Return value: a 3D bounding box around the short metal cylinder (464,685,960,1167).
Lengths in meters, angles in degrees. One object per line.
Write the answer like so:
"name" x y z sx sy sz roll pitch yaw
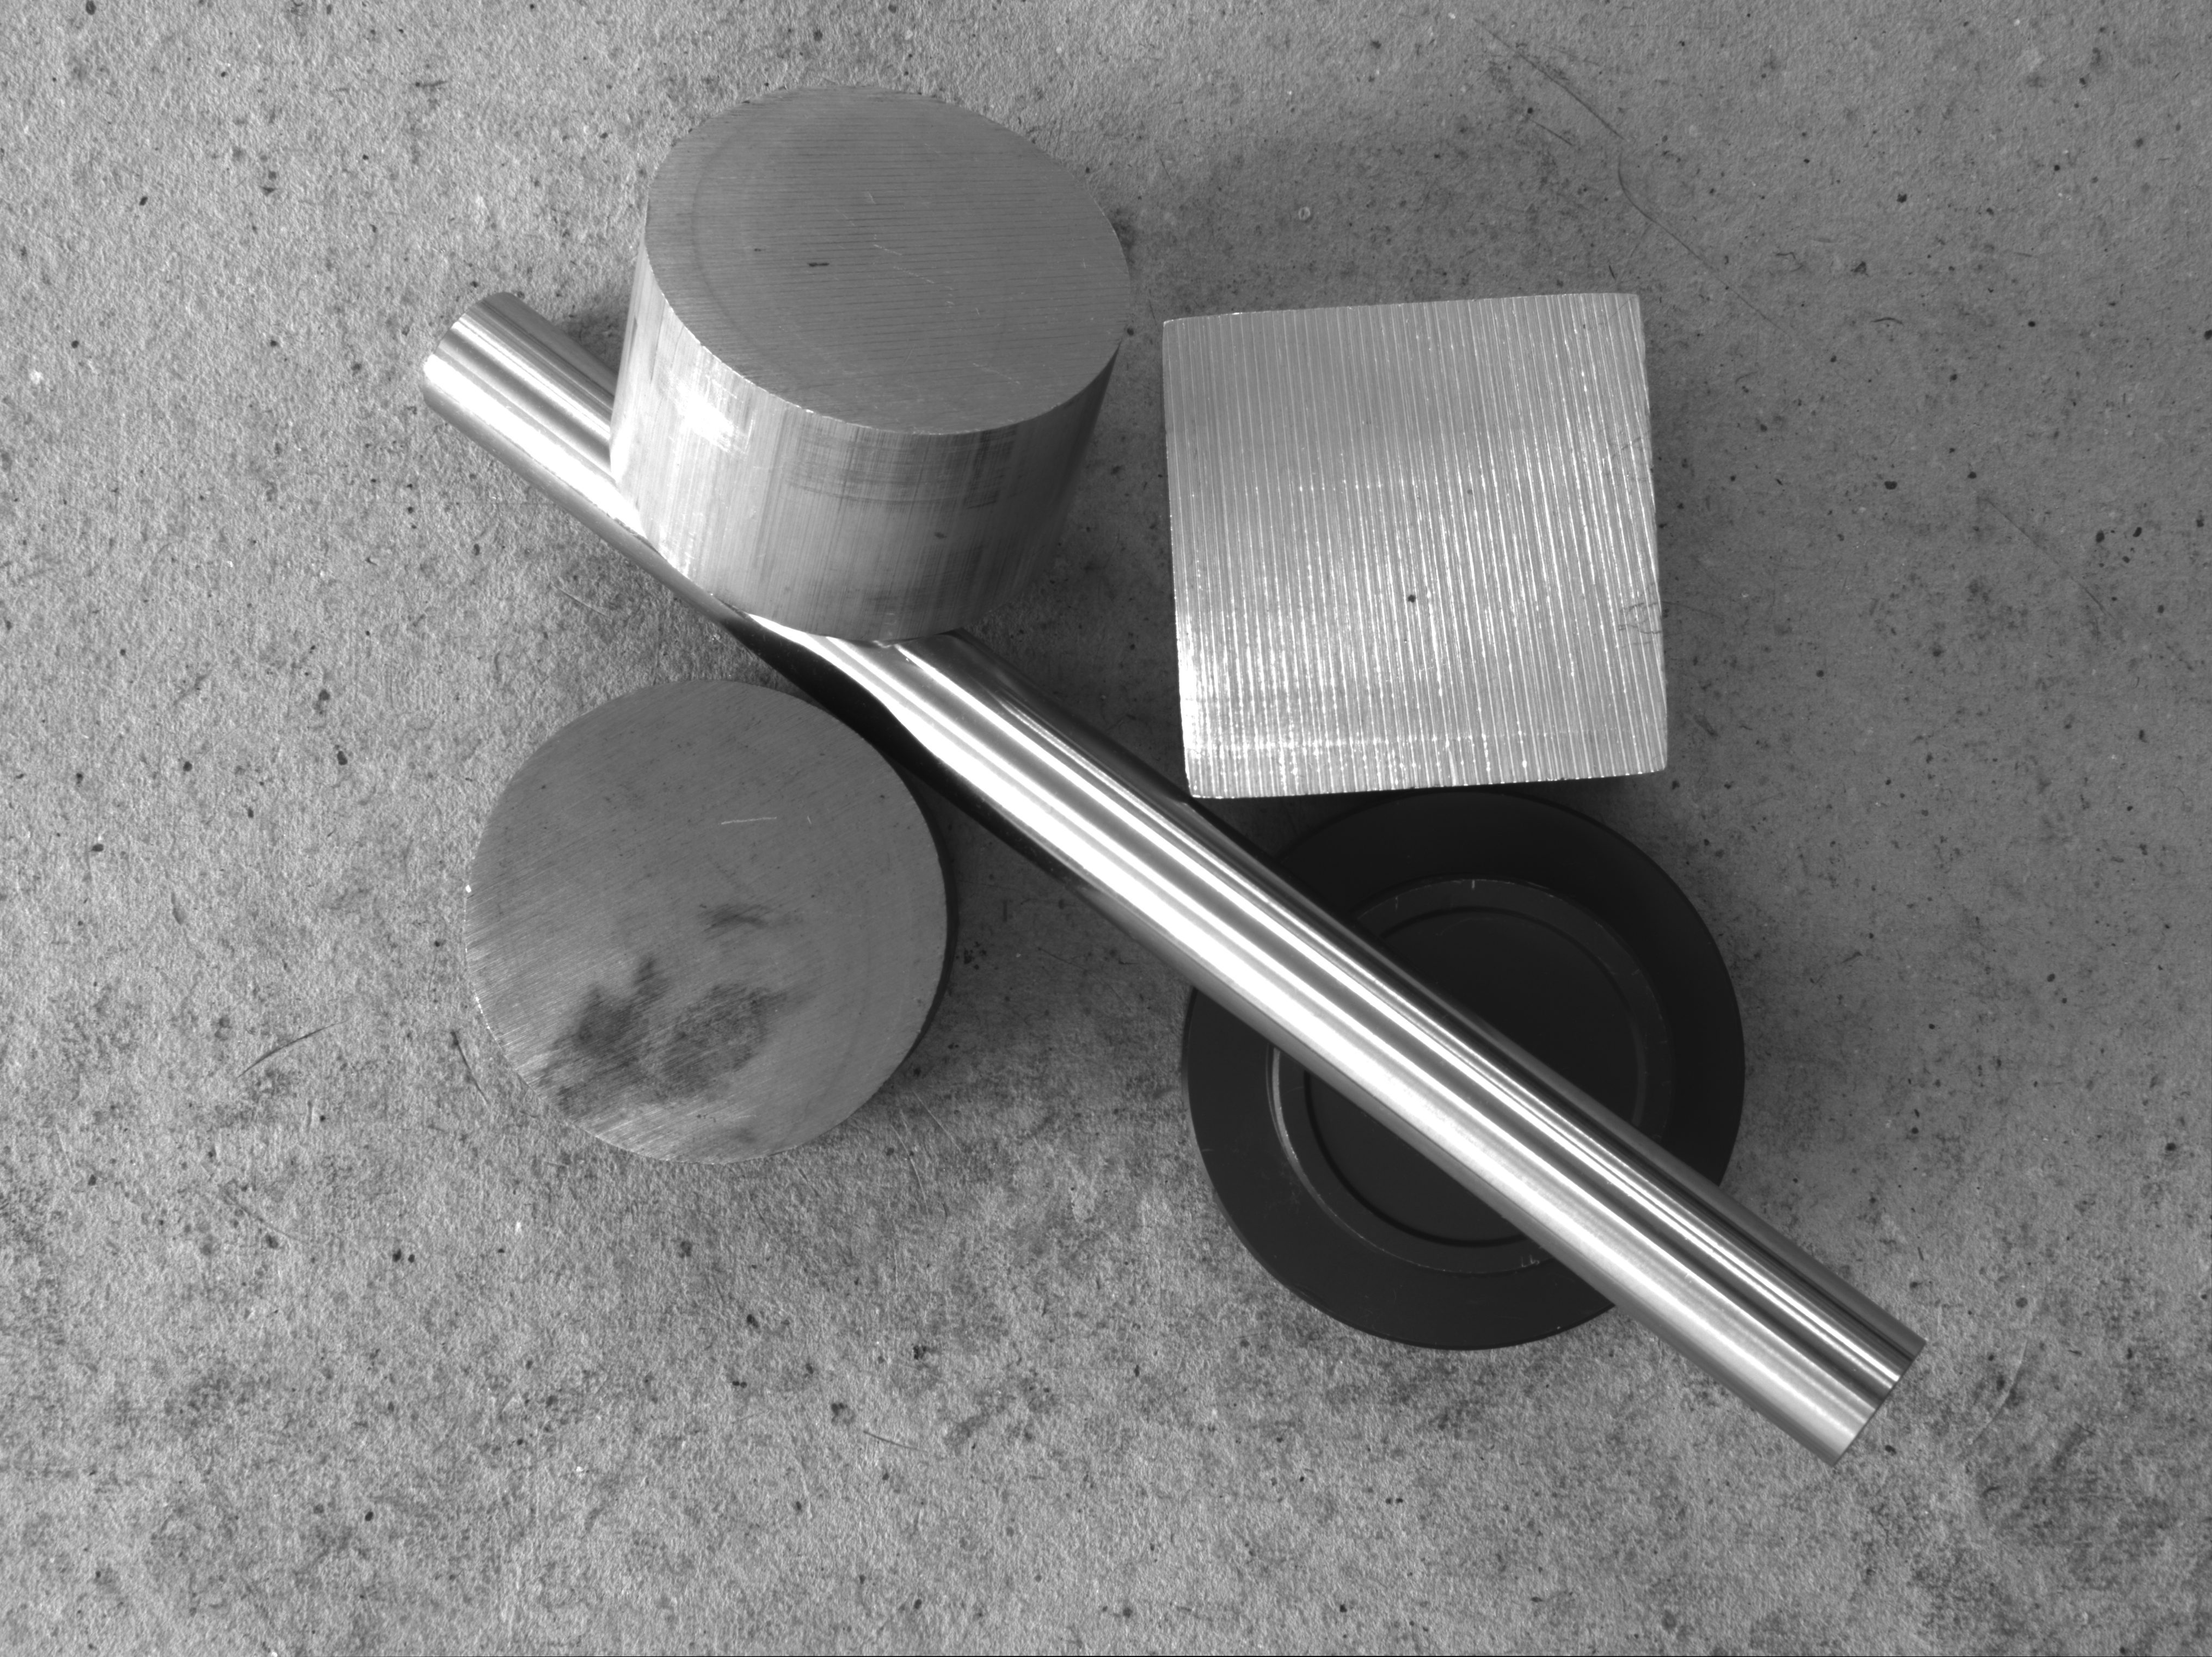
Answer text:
"short metal cylinder" -0.066 0.016 0.634 0.080 0.050 0.080 0 90 0

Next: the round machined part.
"round machined part" 0.062 0.043 0.637 0.098 0.042 0.098 0 90 0

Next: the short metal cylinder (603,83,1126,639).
"short metal cylinder" -0.041 -0.078 0.615 0.080 0.050 0.080 8 51 -10

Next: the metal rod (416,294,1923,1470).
"metal rod" 0.004 0.004 0.612 0.300 0.025 0.025 37 90 13

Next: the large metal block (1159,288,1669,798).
"large metal block" 0.051 -0.047 0.632 0.080 0.050 0.080 -3 90 0
